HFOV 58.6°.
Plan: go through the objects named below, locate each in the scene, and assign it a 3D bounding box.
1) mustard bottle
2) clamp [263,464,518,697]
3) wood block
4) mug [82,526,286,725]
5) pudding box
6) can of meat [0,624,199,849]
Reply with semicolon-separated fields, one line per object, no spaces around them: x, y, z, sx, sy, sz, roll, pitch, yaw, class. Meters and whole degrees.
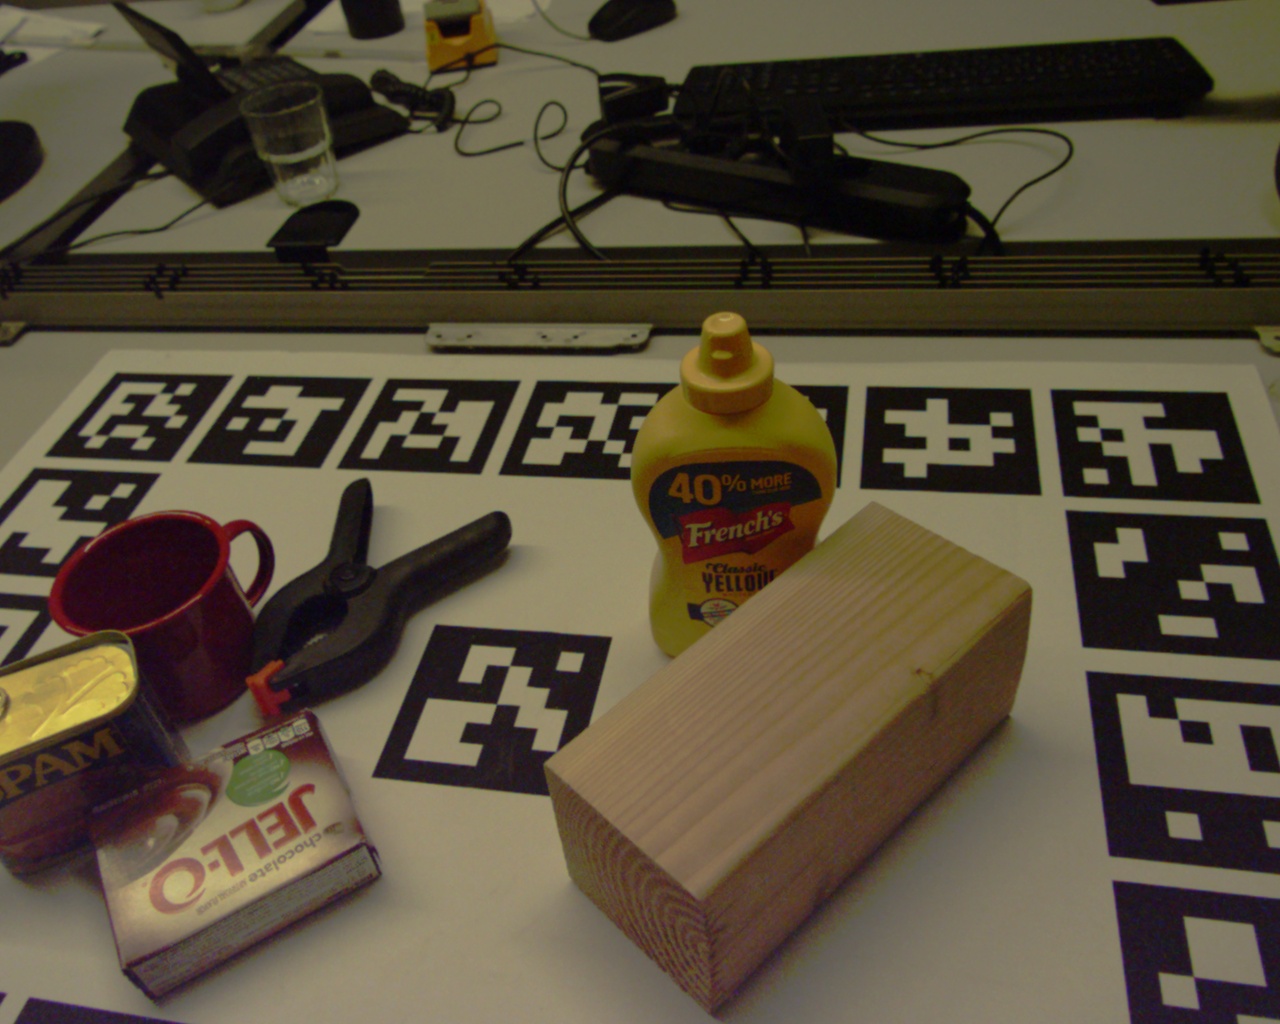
0.038;-0.013;0.574;0.096;0.190;0.058;-1;44;9;mustard bottle
-0.163;0.040;0.677;0.123;0.036;0.164;18;51;24;clamp
0.067;0.100;0.530;0.204;0.090;0.091;-34;46;-27;wood block
-0.251;0.061;0.664;0.094;0.081;0.116;20;52;27;mug
-0.188;0.153;0.553;0.113;0.038;0.091;-25;46;-18;pudding box
-0.283;0.115;0.572;0.101;0.083;0.058;-19;45;-10;can of meat
